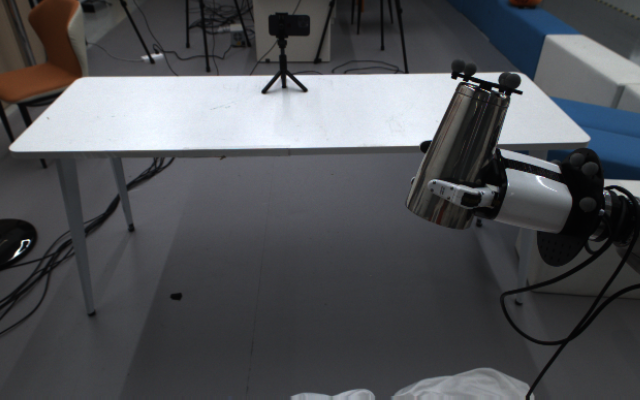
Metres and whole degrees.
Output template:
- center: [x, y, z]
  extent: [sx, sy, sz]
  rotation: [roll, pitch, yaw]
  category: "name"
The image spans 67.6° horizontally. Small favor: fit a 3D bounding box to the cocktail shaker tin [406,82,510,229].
- center: [0.182, -0.059, 0.626]
  extent: [0.093, 0.170, 0.093]
  rotation: [14, 20, -5]
  category: "cocktail shaker tin"
